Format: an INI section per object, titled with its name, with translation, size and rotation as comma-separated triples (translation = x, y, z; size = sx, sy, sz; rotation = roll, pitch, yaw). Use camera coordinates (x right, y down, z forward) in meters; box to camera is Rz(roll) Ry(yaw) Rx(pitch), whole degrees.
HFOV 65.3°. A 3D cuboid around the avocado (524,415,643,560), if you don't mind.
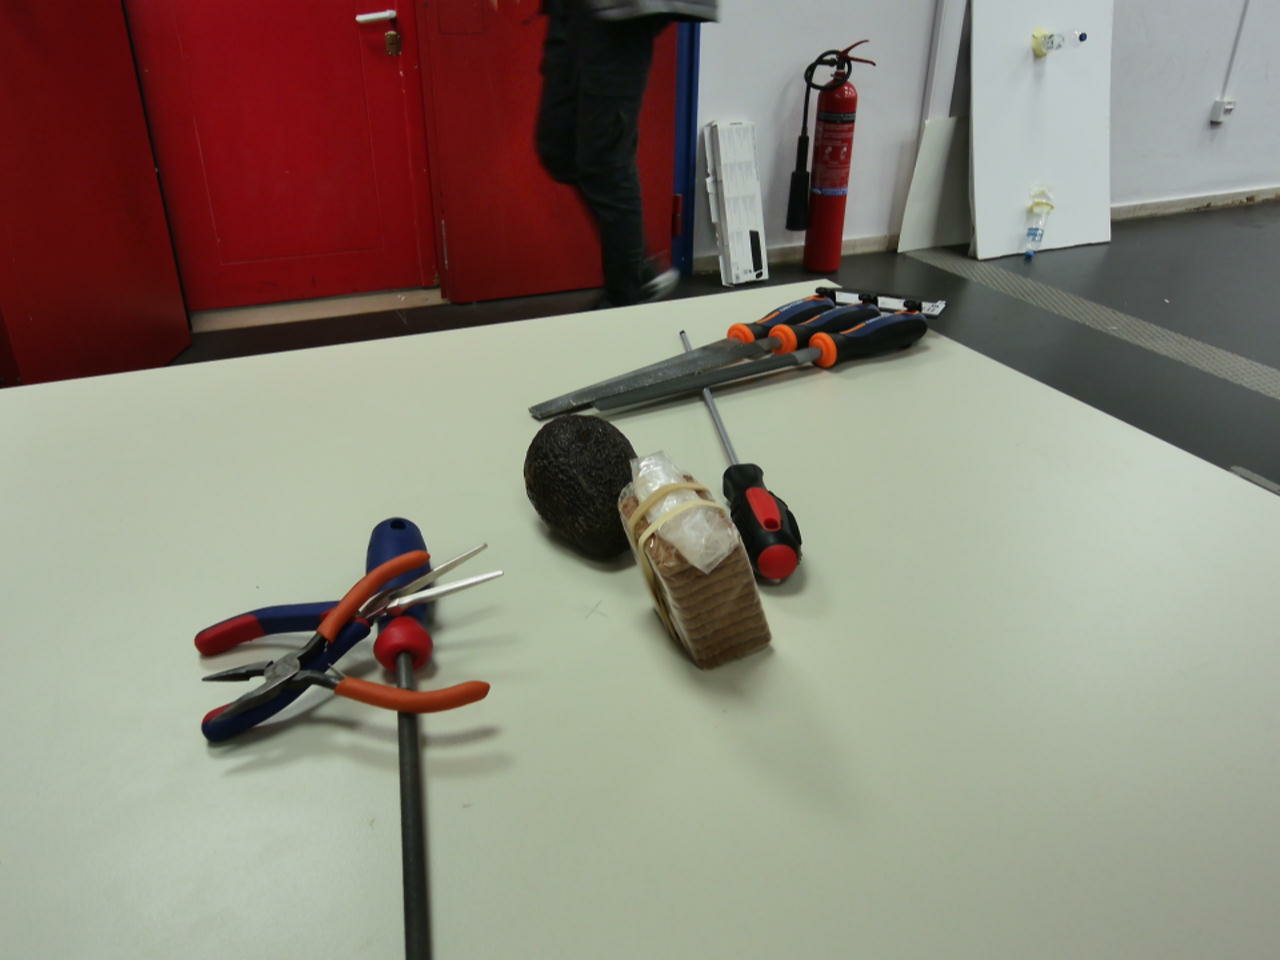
[avocado]
translation = -0.033, 0.001, 0.576
size = 0.070, 0.069, 0.090
rotation = 2, 26, 0
